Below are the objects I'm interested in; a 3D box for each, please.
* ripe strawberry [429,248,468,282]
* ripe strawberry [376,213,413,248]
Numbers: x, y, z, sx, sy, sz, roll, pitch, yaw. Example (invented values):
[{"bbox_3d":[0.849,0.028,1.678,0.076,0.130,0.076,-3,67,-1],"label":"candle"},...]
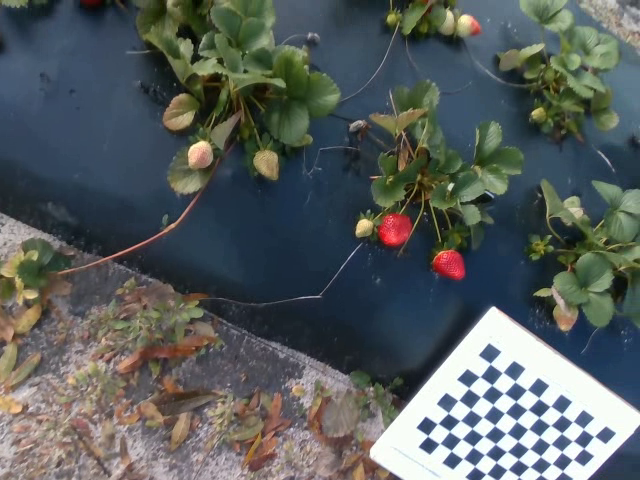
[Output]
[{"bbox_3d":[0.135,0.030,0.891,0.037,0.039,0.033,-36,-49,17],"label":"ripe strawberry"},{"bbox_3d":[0.079,-0.005,0.867,0.035,0.041,0.036,21,41,-10],"label":"ripe strawberry"}]
